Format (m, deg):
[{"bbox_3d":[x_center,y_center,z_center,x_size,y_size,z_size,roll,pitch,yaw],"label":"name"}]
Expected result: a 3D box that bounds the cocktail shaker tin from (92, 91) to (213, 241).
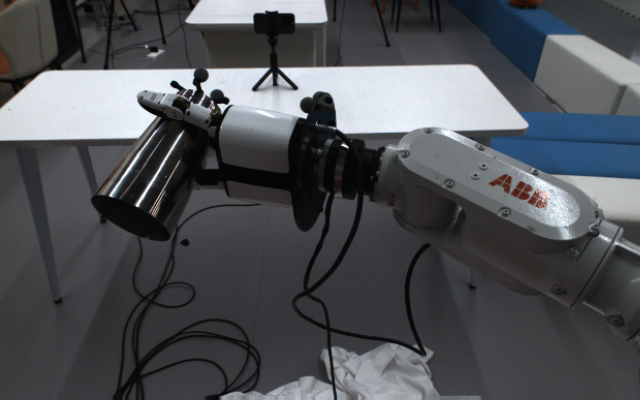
[{"bbox_3d":[-0.179,-0.049,0.569,0.093,0.093,0.170,13,59,15],"label":"cocktail shaker tin"}]
